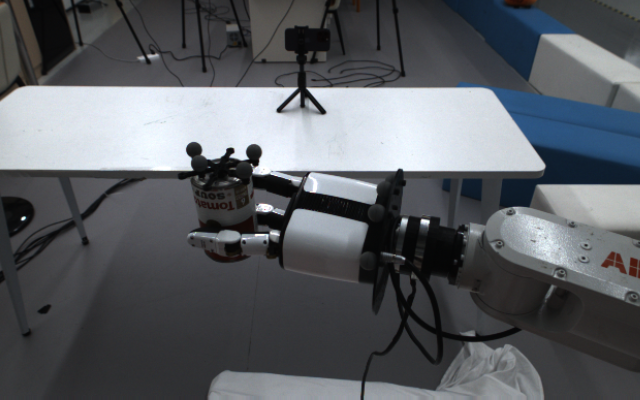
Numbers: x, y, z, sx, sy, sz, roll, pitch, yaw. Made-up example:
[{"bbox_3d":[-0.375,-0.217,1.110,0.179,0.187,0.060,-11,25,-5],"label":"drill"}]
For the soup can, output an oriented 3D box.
[{"bbox_3d":[-0.104,0.011,0.556,0.067,0.101,0.067,-2,34,1],"label":"soup can"}]
